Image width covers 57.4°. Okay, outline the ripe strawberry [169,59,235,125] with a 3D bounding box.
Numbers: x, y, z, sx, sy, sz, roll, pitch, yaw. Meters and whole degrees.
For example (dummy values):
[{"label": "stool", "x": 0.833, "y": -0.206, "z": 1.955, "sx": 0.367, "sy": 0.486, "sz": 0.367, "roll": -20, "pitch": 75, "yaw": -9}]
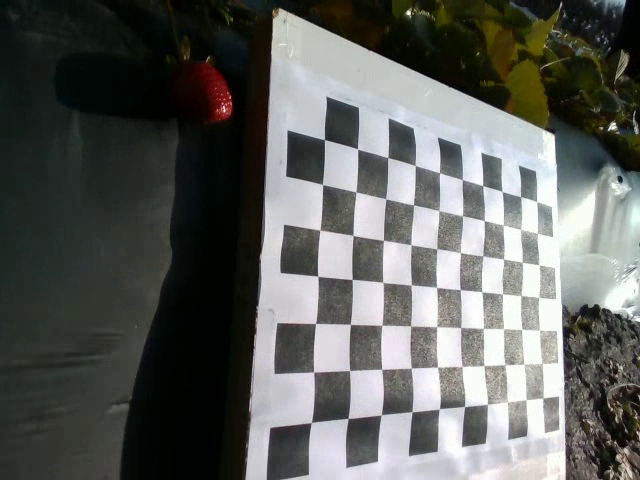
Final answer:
[{"label": "ripe strawberry", "x": -0.048, "y": -0.056, "z": 0.229, "sx": 0.035, "sy": 0.033, "sz": 0.038, "roll": 7, "pitch": 28, "yaw": -40}]
